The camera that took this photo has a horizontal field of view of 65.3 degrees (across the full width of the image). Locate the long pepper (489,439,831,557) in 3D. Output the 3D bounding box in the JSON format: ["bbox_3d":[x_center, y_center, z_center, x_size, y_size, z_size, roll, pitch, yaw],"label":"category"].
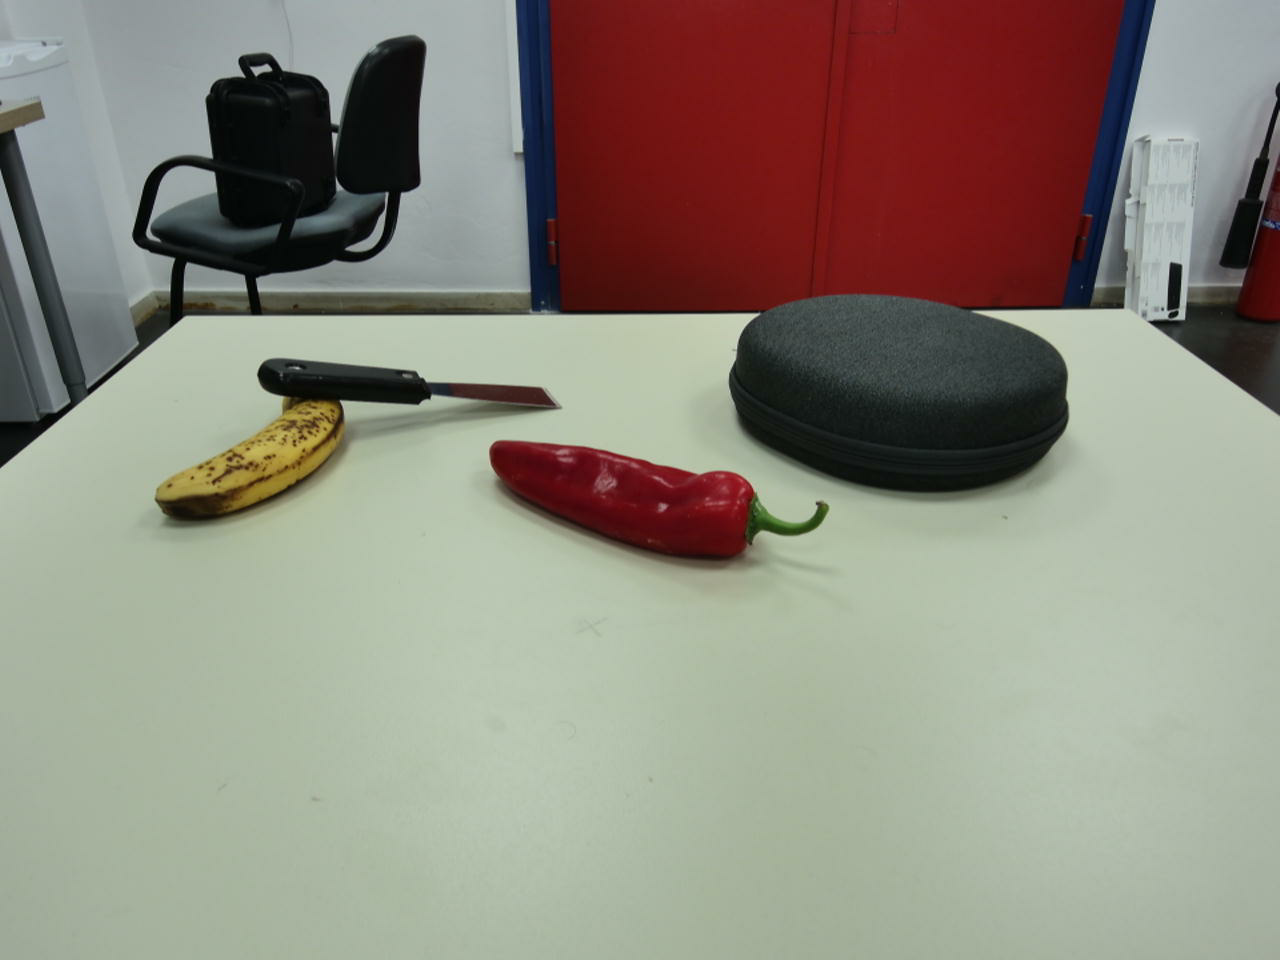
[{"bbox_3d":[-0.003,0.007,0.534,0.211,0.043,0.050,15,30,28],"label":"long pepper"}]
